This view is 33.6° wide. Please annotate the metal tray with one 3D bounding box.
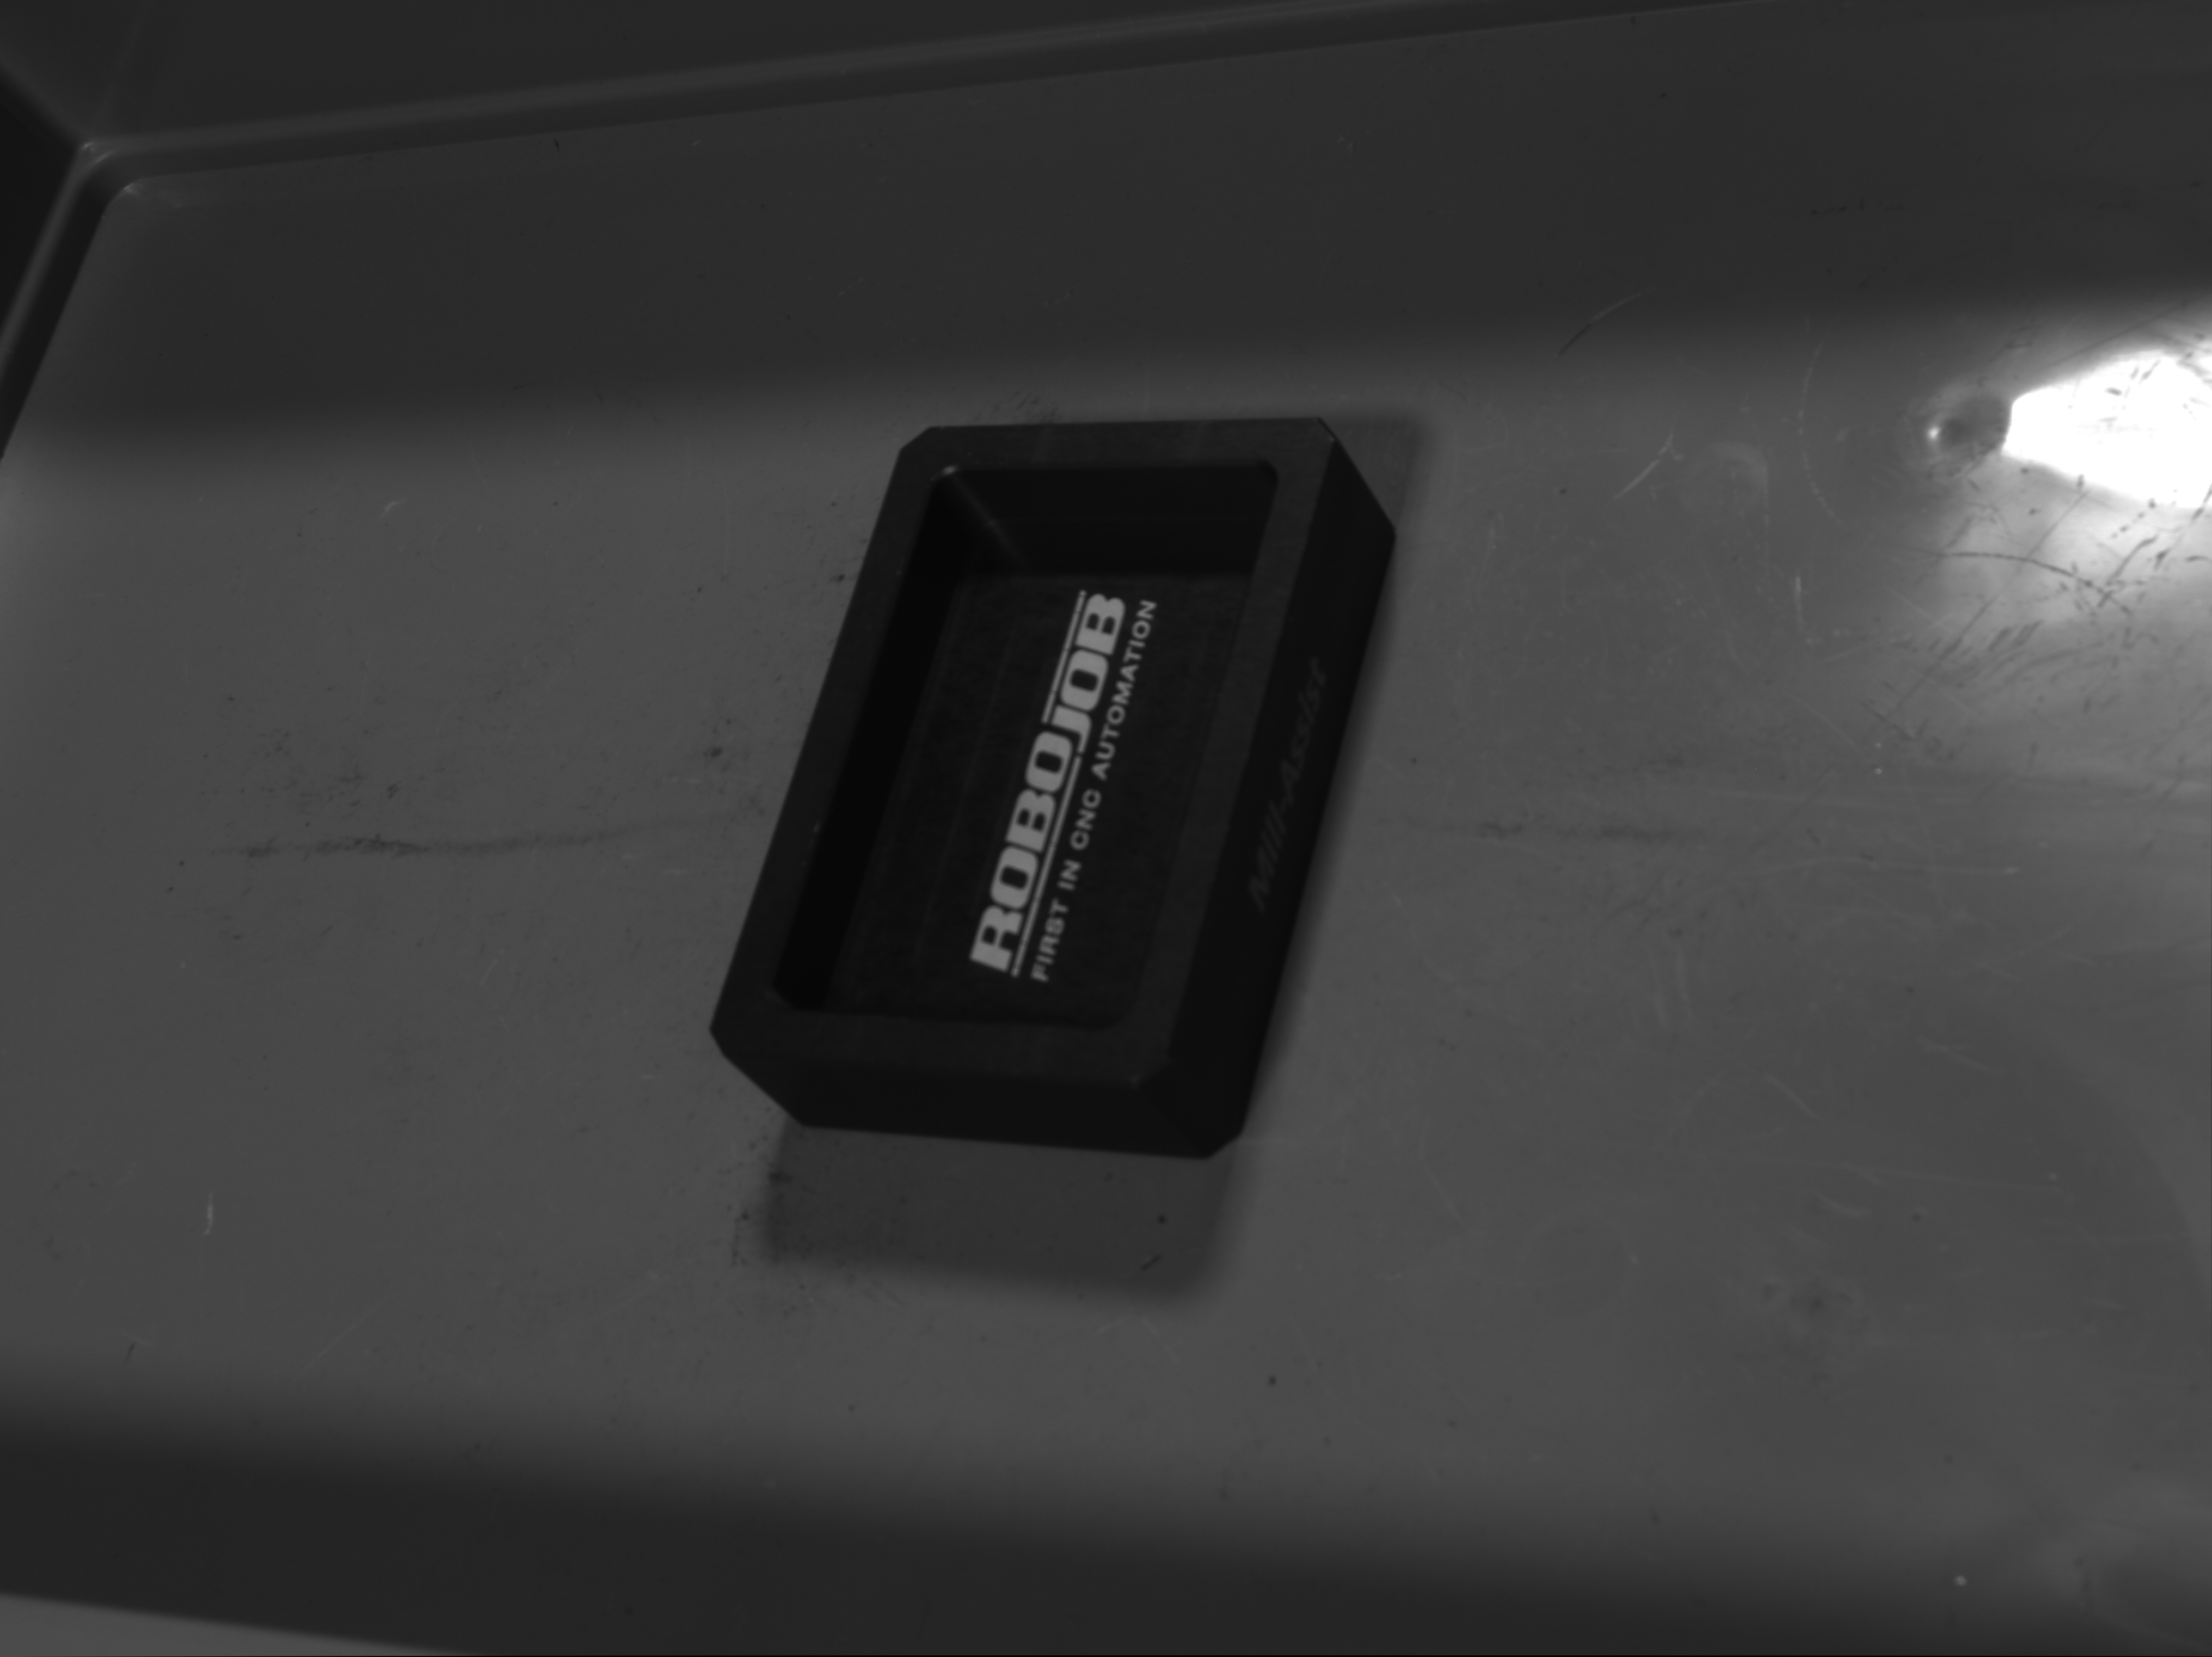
[{"bbox_3d":[-0.006,-0.010,0.647,0.090,0.030,0.130,2,62,29],"label":"metal tray"}]
